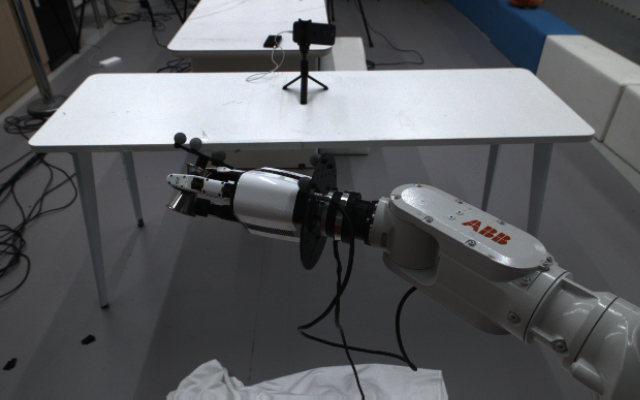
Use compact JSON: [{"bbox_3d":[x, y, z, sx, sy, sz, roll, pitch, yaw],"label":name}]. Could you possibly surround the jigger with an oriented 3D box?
[{"bbox_3d":[-0.185,-0.016,0.683,0.043,0.071,0.043,23,-2,1],"label":"jigger"}]
